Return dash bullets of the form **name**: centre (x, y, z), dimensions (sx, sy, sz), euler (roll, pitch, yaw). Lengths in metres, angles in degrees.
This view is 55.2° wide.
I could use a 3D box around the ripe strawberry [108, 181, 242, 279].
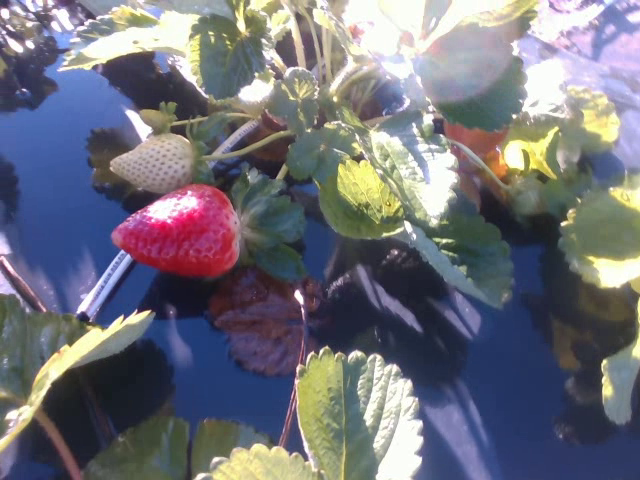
- **ripe strawberry**: centre (-0.067, -0.006, 0.305), dimensions (0.080, 0.063, 0.040), euler (-6, -10, -32)
